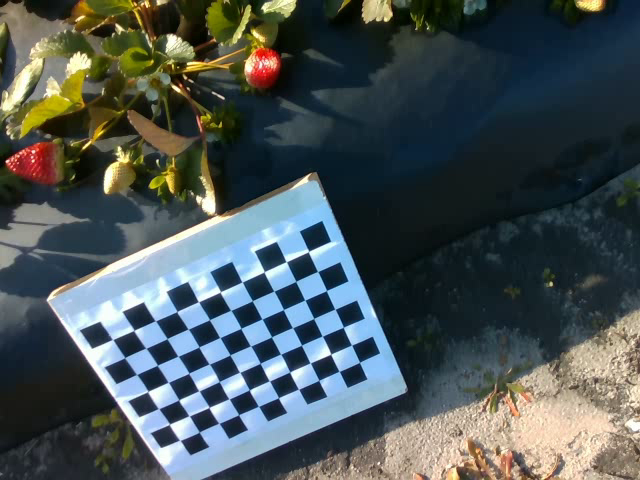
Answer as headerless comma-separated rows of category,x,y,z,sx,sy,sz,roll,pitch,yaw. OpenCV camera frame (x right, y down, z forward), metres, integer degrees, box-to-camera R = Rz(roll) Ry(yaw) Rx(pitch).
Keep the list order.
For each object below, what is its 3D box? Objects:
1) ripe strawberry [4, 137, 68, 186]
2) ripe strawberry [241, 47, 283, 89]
ripe strawberry,-0.240,-0.065,0.462,0.053,0.044,0.036,-1,21,-15
ripe strawberry,-0.044,-0.136,0.448,0.037,0.042,0.045,47,-19,-20
